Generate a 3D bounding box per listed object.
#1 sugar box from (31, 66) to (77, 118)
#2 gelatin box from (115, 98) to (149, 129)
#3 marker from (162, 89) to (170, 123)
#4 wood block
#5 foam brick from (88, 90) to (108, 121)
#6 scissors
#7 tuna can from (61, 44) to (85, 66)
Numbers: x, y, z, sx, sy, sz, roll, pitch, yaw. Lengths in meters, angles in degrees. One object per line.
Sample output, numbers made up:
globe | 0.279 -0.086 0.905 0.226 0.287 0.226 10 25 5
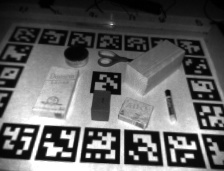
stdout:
sugar box | -0.178 0.015 0.691 0.093 0.045 0.176 9 51 1
gelatin box | 0.062 0.084 0.665 0.089 0.030 0.073 19 53 11
marker | 0.173 0.063 0.696 0.019 0.020 0.120 6 53 1
wood block | 0.145 -0.063 0.755 0.208 0.091 0.089 -34 60 -28
foam brick | -0.040 0.060 0.656 0.053 0.051 0.078 6 52 1
scissors | 0.031 -0.099 0.818 0.202 0.016 0.087 9 51 5
tuna can | -0.142 -0.113 0.798 0.086 0.034 0.085 3 52 -3
